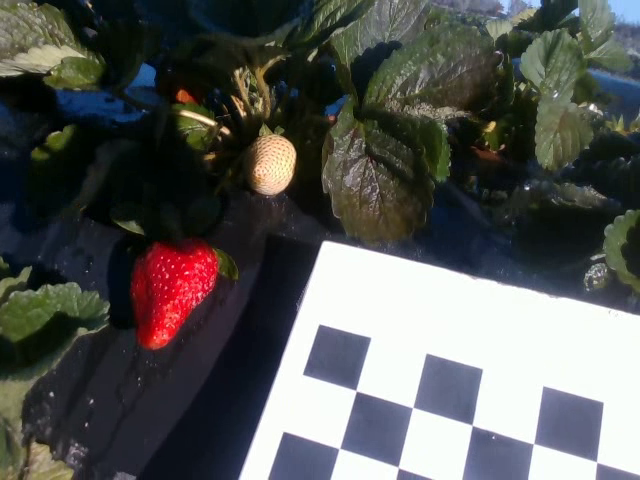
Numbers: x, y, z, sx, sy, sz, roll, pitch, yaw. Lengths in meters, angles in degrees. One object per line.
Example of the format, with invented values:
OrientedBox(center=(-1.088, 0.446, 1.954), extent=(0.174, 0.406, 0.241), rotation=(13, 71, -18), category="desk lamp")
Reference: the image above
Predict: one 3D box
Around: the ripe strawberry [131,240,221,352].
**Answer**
OrientedBox(center=(-0.071, 0.025, 0.286), extent=(0.048, 0.069, 0.040), rotation=(-3, -34, 4), category="ripe strawberry")
